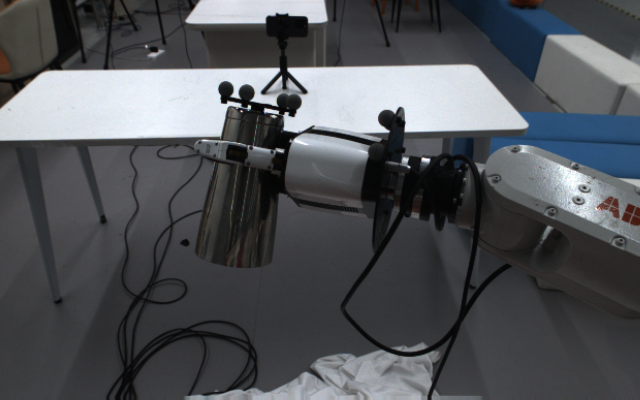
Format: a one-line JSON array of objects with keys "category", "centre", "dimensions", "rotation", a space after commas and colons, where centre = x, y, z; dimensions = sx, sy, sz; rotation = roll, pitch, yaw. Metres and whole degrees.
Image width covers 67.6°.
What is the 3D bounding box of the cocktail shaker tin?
[{"category": "cocktail shaker tin", "centre": [-0.084, -0.019, 0.562], "dimensions": [0.093, 0.170, 0.093], "rotation": [10, 9, -2]}]
